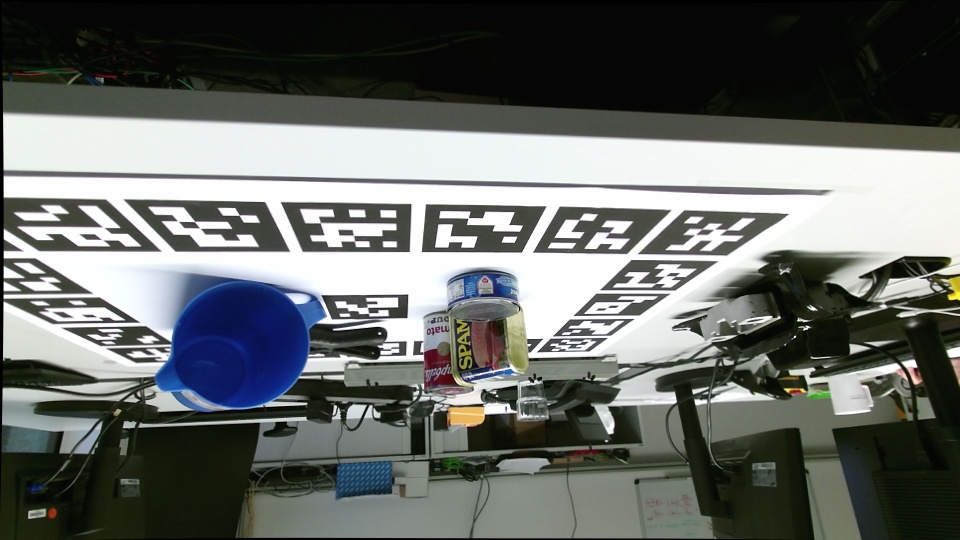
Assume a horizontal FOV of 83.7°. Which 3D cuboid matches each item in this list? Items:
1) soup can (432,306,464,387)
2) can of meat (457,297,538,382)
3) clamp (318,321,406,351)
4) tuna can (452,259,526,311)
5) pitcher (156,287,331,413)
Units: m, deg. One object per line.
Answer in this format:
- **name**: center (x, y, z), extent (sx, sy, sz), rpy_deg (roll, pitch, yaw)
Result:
- **soup can**: center (-0.030, 0.109, 0.751), extent (0.068, 0.101, 0.068), rpy_deg (-6, 155, -3)
- **can of meat**: center (0.023, 0.084, 0.692), extent (0.084, 0.101, 0.058), rpy_deg (-20, 150, 24)
- **clamp**: center (-0.195, 0.099, 0.802), extent (0.166, 0.036, 0.122), rpy_deg (3, 159, -7)
- **tuna can**: center (0.010, 0.018, 0.631), extent (0.086, 0.033, 0.086), rpy_deg (-4, 154, -2)
- **pitcher**: center (-0.293, 0.111, 0.664), extent (0.189, 0.133, 0.243), rpy_deg (-15, 172, -33)
